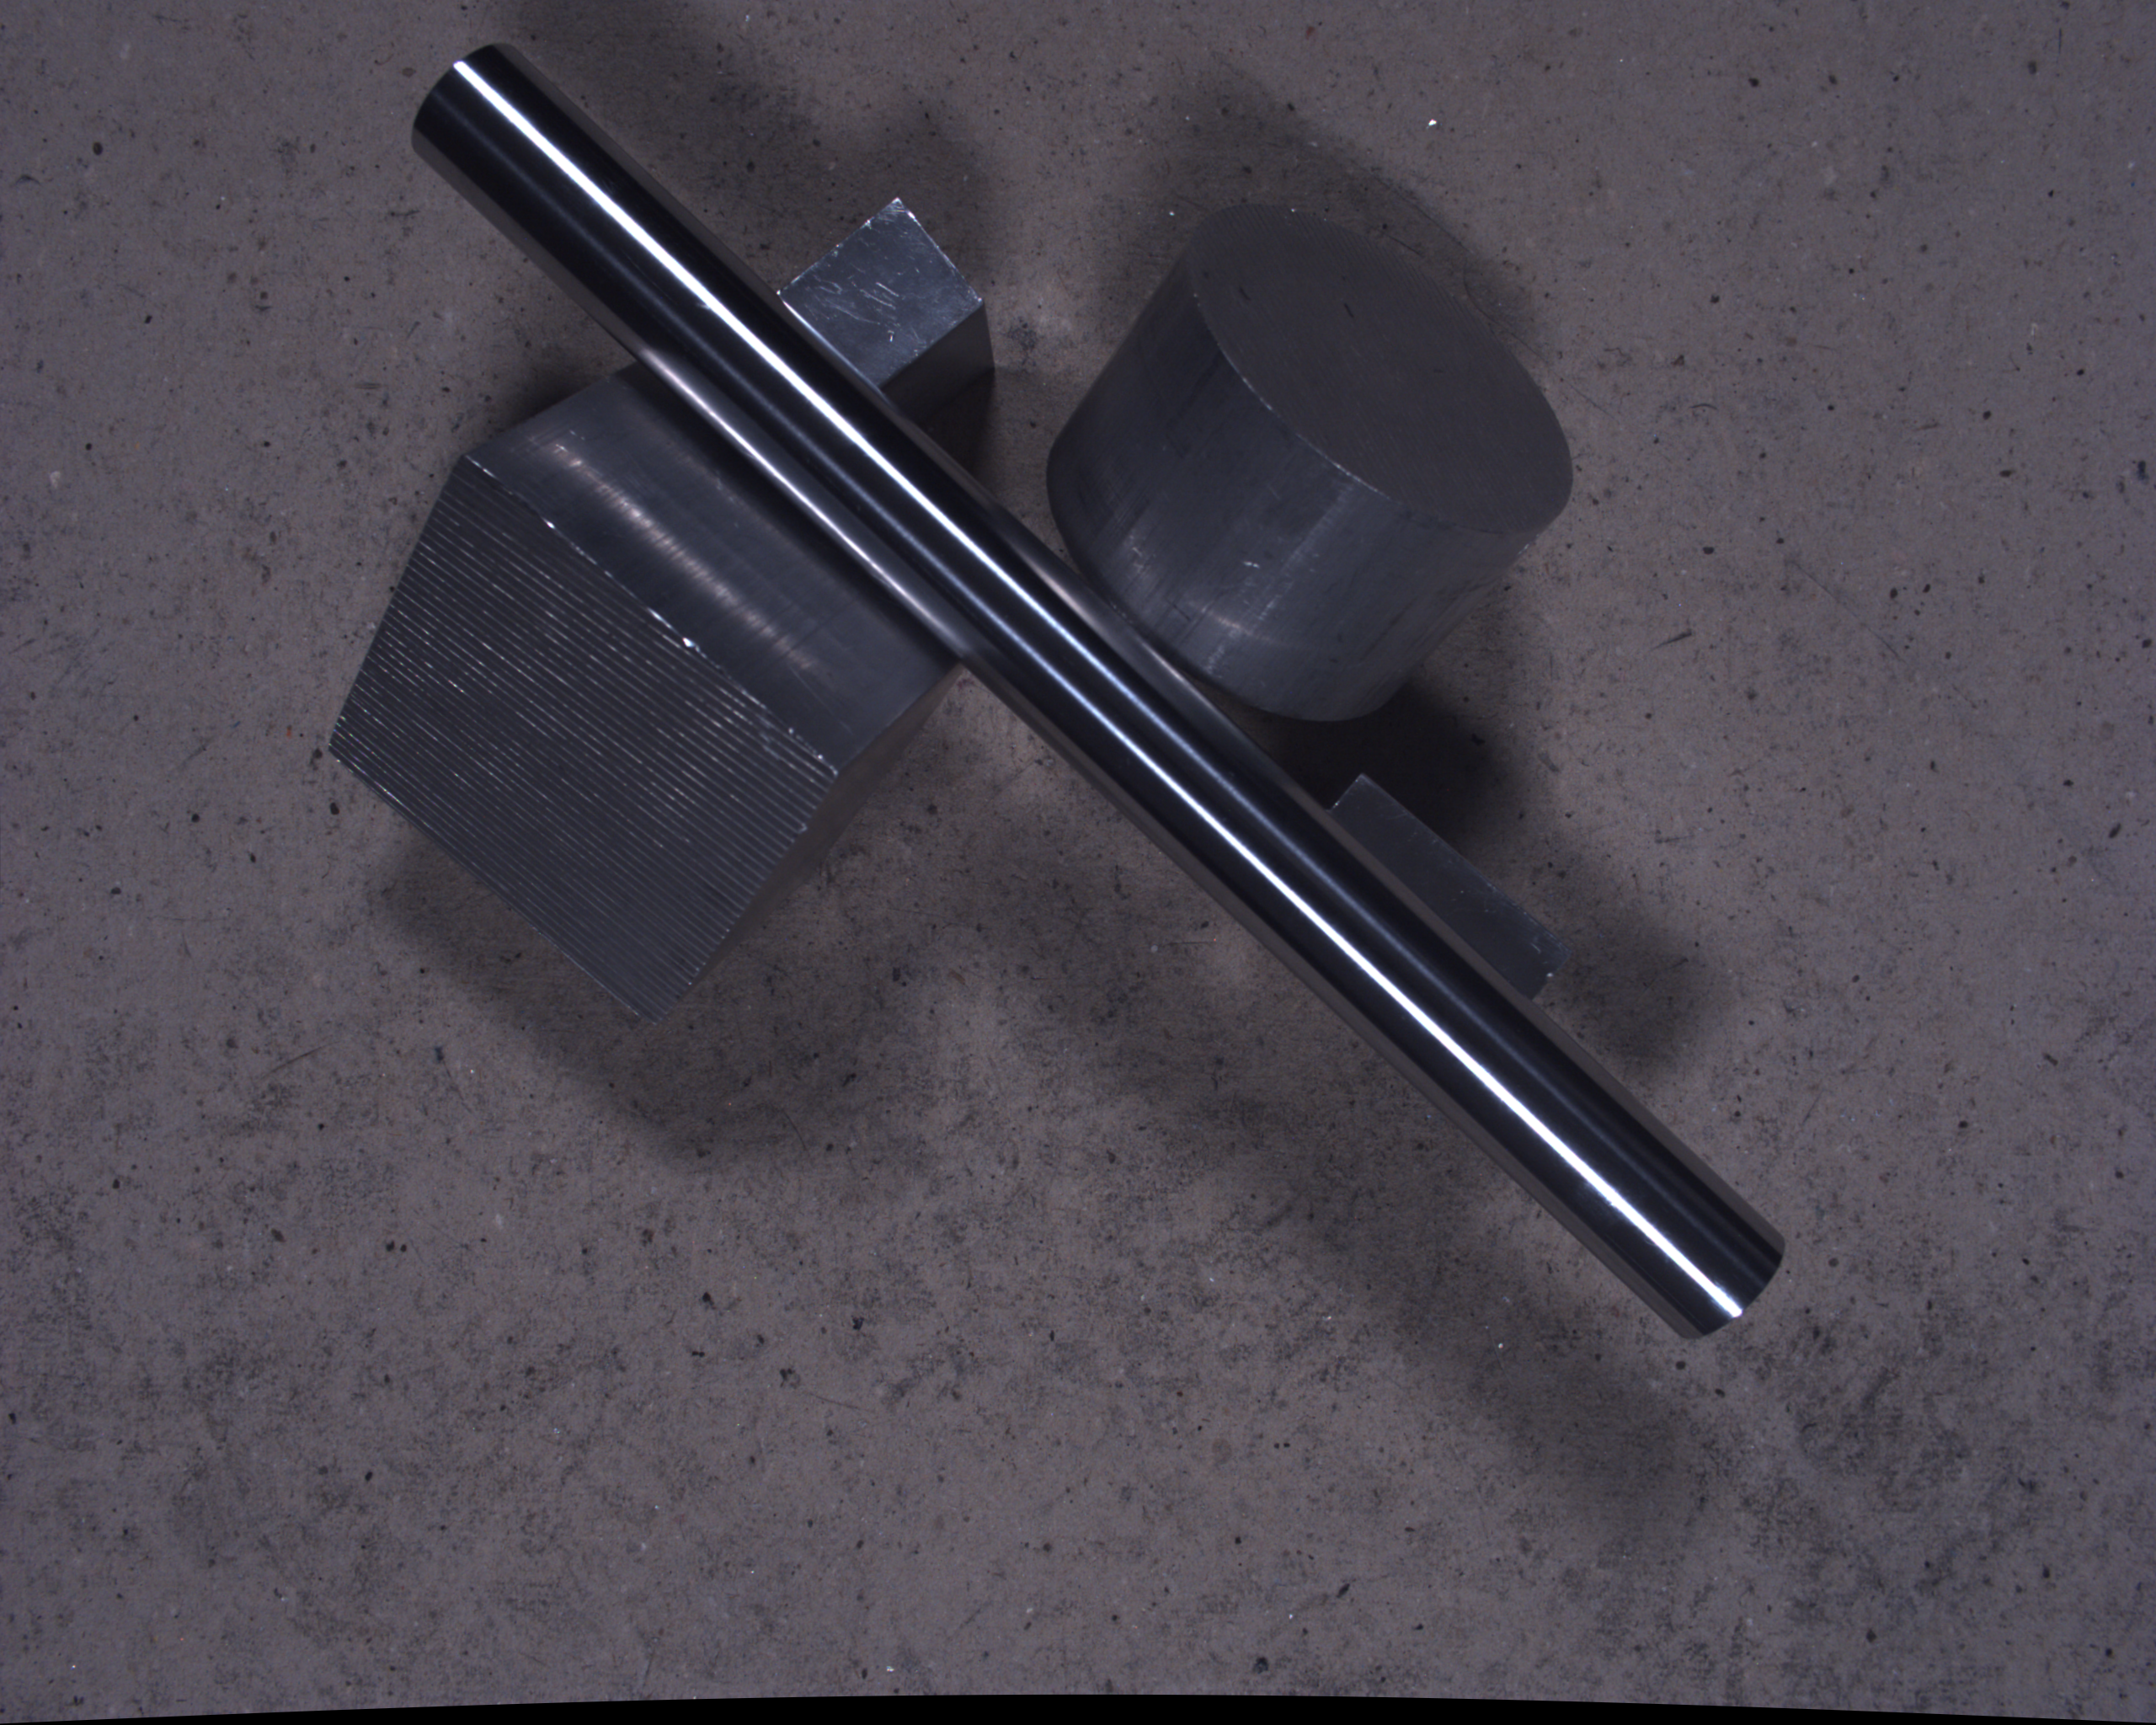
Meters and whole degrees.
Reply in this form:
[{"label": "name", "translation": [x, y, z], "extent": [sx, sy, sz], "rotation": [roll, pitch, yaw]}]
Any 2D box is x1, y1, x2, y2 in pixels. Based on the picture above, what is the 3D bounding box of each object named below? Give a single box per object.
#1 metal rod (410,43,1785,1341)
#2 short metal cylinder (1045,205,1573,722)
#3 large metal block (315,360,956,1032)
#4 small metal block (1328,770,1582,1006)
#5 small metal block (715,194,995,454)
[{"label": "metal rod", "translation": [0.004, -0.029, 0.361], "extent": [0.300, 0.025, 0.025], "rotation": [43, 90, -1]}, {"label": "short metal cylinder", "translation": [0.041, -0.072, 0.378], "extent": [0.080, 0.080, 0.050], "rotation": [39, 131, 0]}, {"label": "large metal block", "translation": [-0.080, -0.030, 0.380], "extent": [0.080, 0.050, 0.080], "rotation": [41, 130, -1]}, {"label": "small metal block", "translation": [0.063, 0.009, 0.396], "extent": [0.050, 0.050, 0.025], "rotation": [41, 90, -1]}, {"label": "small metal block", "translation": [-0.044, -0.095, 0.398], "extent": [0.050, 0.050, 0.025], "rotation": [-39, 90, 0]}]
